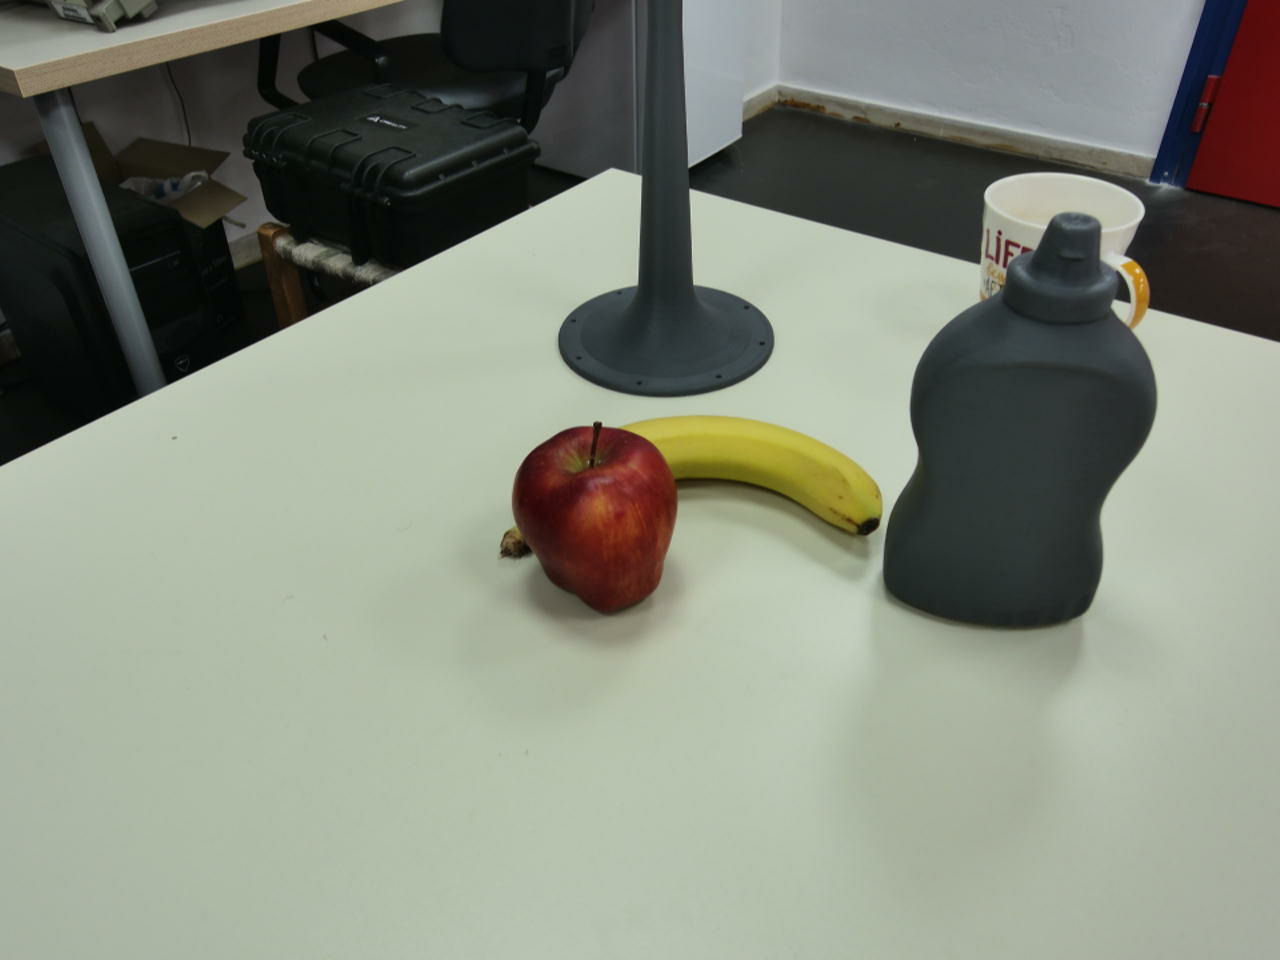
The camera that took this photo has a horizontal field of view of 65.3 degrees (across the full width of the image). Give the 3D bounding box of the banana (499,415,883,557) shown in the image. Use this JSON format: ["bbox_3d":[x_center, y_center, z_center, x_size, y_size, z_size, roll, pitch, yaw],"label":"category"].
[{"bbox_3d":[0.026,-0.001,0.541,0.196,0.041,0.094,1,37,2],"label":"banana"}]
